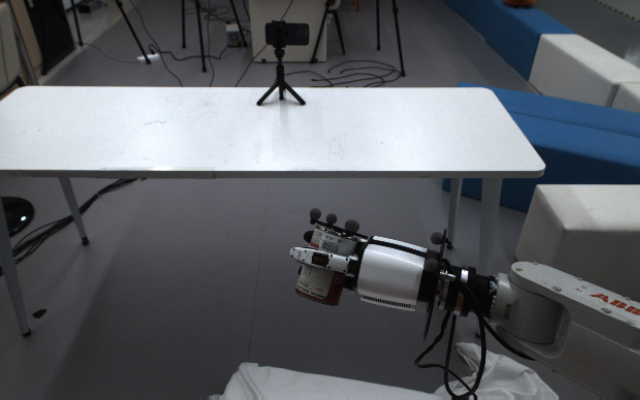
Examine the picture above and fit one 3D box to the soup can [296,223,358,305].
[{"bbox_3d":[0.011,0.095,0.707,0.067,0.101,0.067,17,-1,0],"label":"soup can"}]
